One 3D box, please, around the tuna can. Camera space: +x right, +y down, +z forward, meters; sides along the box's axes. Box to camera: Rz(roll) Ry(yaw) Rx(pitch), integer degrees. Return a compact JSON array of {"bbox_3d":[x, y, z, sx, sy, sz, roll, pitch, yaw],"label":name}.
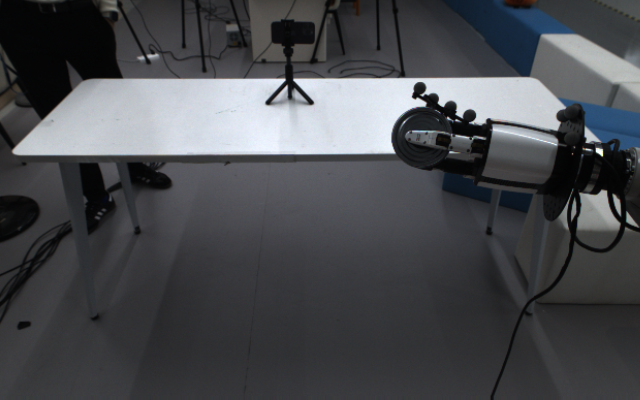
[{"bbox_3d":[0.149,-0.082,0.688,0.085,0.085,0.034,13,4,15],"label":"tuna can"}]
